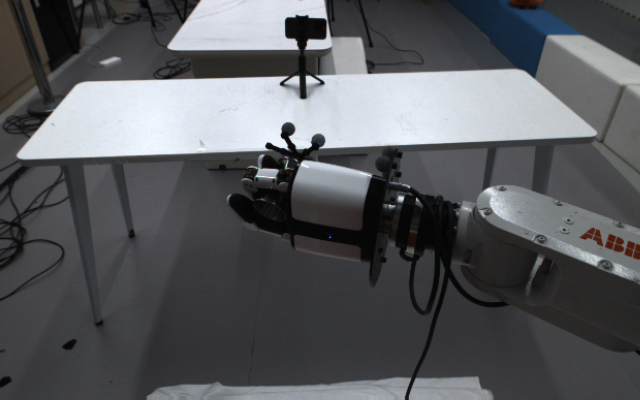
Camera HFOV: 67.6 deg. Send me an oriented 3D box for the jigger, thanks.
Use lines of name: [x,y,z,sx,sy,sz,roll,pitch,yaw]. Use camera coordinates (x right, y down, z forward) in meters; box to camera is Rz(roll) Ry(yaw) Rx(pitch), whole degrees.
jigger: [-0.045,-0.016,0.583,0.043,0.043,0.071,15,58,18]
